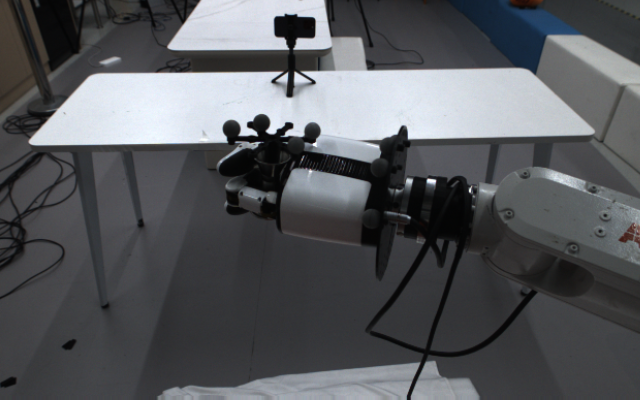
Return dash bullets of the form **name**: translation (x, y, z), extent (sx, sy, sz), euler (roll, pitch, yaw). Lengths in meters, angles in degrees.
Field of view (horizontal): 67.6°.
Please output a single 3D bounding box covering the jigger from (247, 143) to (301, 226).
- **jigger**: translation (-0.048, -0.019, 0.523), extent (0.043, 0.071, 0.043), euler (4, 31, -2)
